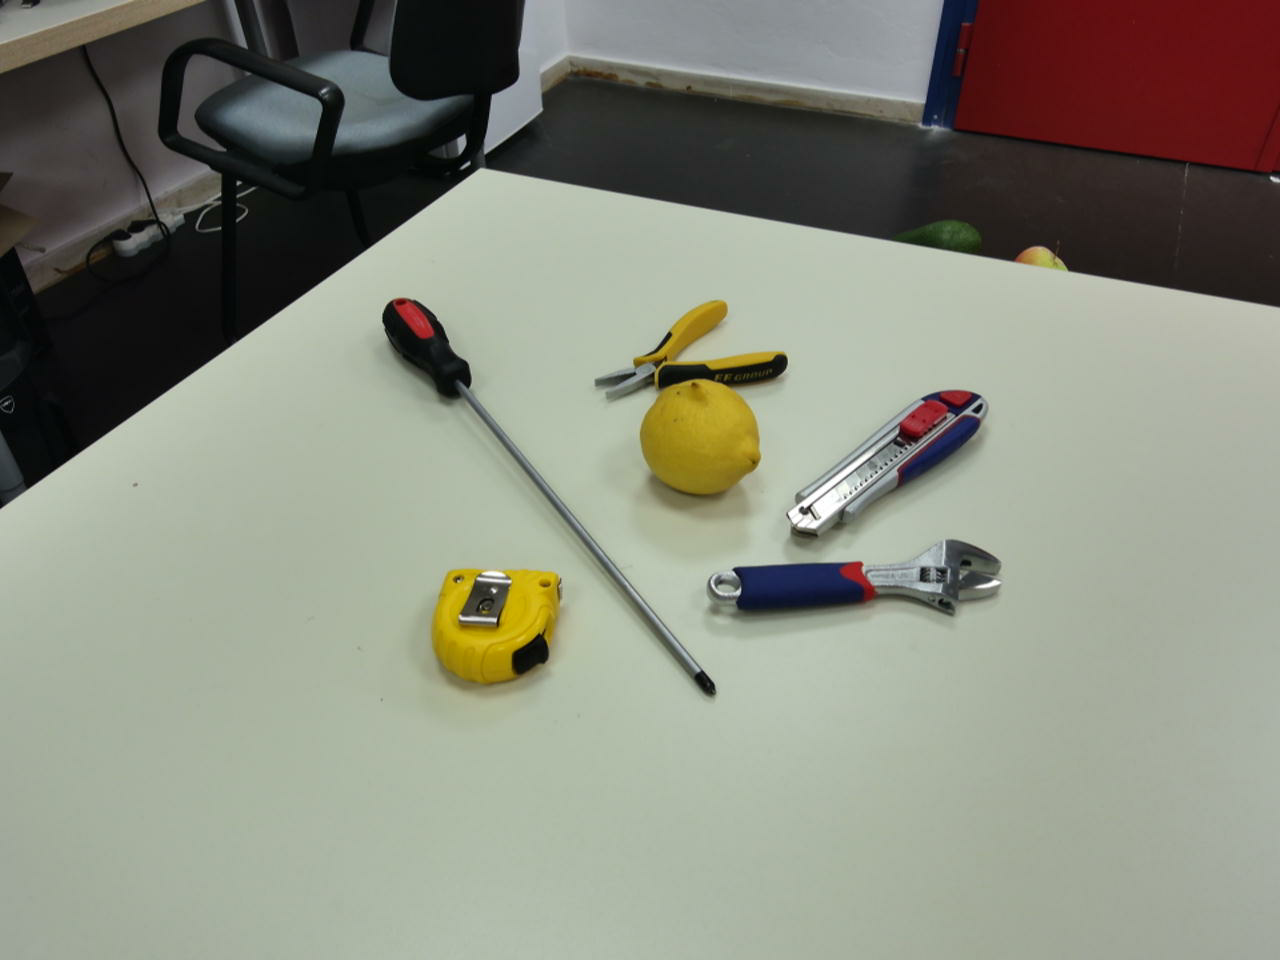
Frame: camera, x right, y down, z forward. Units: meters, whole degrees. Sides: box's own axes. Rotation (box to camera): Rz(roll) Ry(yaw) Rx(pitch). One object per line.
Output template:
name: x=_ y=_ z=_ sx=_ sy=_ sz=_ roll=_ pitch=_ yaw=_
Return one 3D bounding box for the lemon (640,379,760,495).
lemon: x=0.035 y=-0.028 z=0.599 sx=0.070 sy=0.071 sz=0.071 roll=-5 pitch=39 yaw=-7
